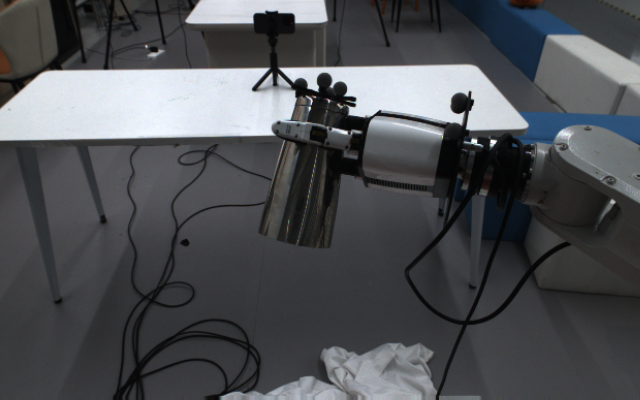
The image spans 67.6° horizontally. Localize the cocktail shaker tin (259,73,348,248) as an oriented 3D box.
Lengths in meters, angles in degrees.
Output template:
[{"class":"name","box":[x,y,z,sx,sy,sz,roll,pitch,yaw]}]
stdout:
[{"class":"cocktail shaker tin","box":[-0.012,-0.038,0.593,0.093,0.170,0.093,13,3,-1]}]
